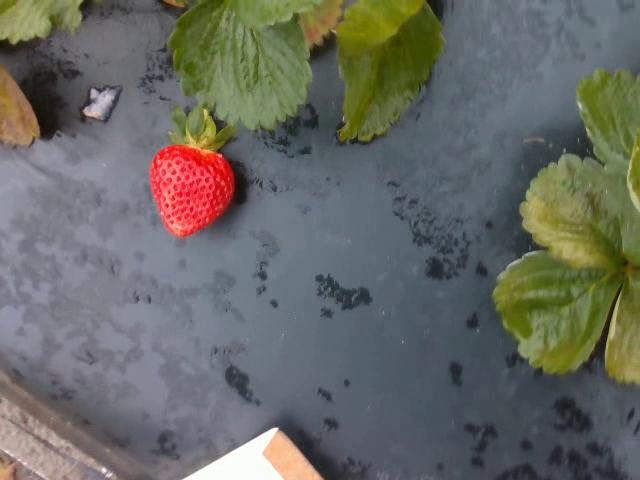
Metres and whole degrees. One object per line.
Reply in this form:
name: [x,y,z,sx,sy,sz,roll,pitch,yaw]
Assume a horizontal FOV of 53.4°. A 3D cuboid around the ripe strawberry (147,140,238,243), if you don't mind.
ripe strawberry: [-0.066,-0.024,0.318,0.045,0.054,0.048,5,-22,24]
